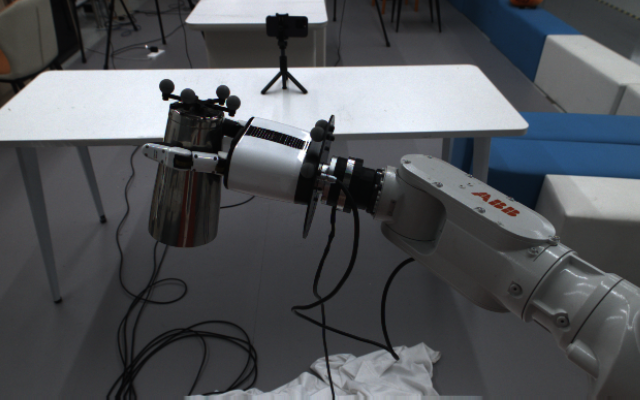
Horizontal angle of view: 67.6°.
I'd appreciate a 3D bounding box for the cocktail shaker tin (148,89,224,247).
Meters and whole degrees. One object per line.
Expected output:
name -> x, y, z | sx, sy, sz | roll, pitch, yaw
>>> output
cocktail shaker tin -> -0.164, -0.037, 0.623 | 0.093, 0.170, 0.093 | 12, 26, -6
